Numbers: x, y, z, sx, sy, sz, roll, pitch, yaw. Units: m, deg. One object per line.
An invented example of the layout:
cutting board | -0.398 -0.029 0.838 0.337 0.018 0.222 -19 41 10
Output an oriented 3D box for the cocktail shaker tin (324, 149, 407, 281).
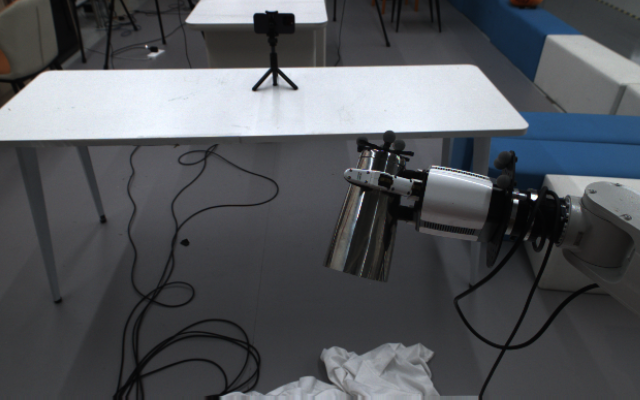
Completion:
cocktail shaker tin | 0.070 0.018 0.678 0.093 0.170 0.093 15 -5 1
